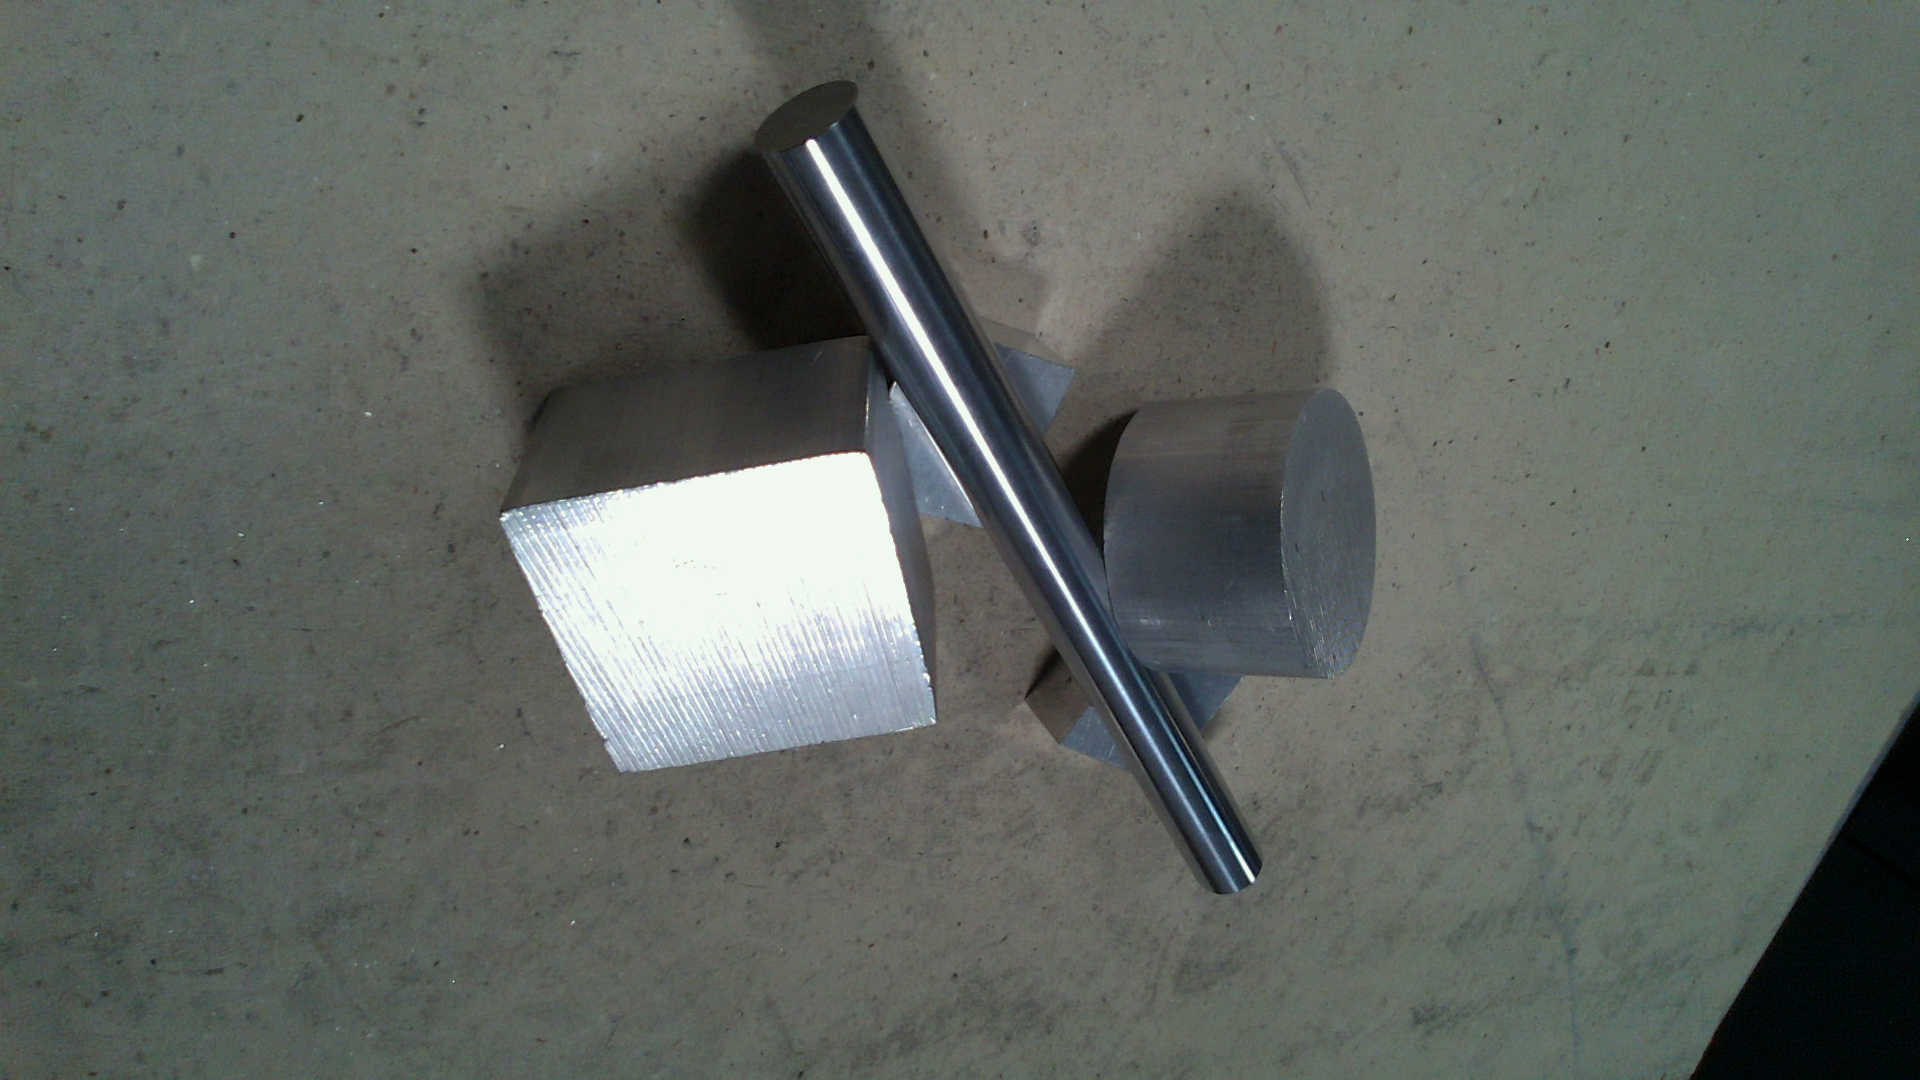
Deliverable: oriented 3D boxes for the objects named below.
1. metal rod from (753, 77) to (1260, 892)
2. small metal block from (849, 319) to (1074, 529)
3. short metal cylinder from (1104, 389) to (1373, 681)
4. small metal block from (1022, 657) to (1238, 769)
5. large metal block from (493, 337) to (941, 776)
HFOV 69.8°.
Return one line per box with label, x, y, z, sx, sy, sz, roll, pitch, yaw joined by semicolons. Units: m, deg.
metal rod;0.029;0.011;0.380;0.025;0.025;0.301;-36;129;-5
small metal block;-0.006;-0.034;0.366;0.050;0.025;0.050;13;112;-34
short metal cylinder;0.082;-0.001;0.391;0.080;0.050;0.080;2;87;-57
small metal block;0.057;0.047;0.449;0.050;0.025;0.050;27;104;-37
large metal block;-0.052;0.005;0.327;0.080;0.050;0.080;-9;126;5
